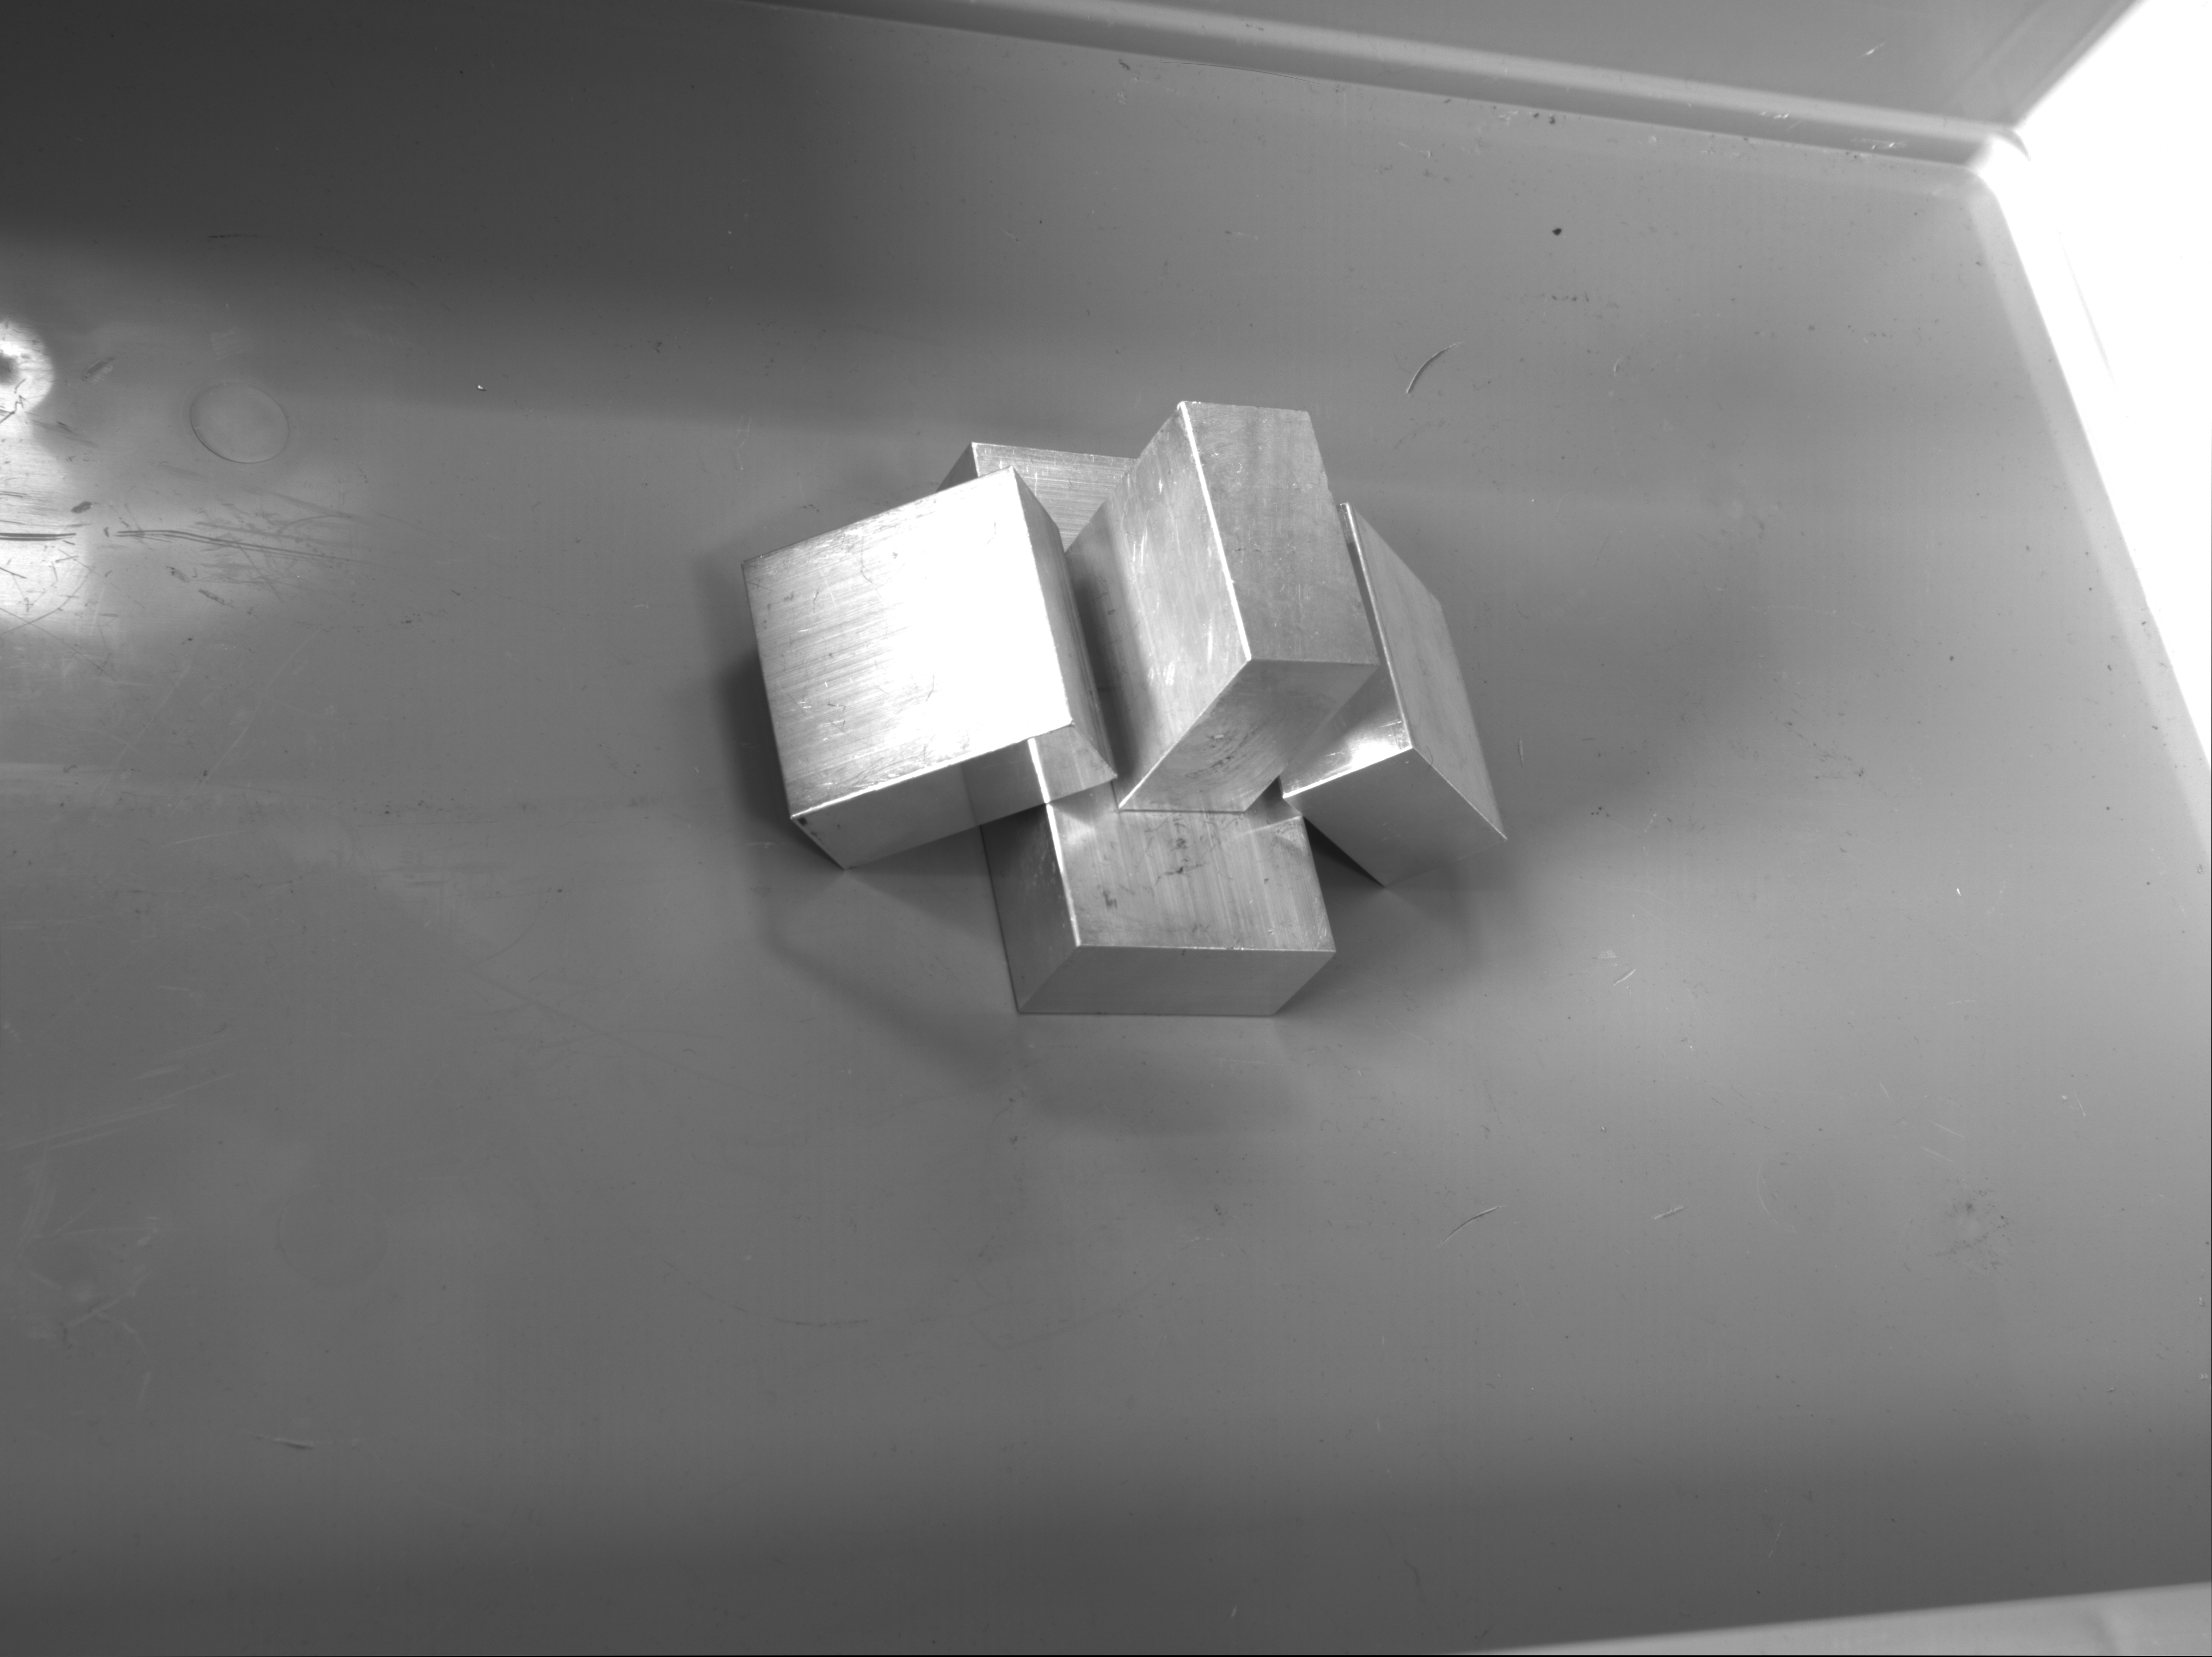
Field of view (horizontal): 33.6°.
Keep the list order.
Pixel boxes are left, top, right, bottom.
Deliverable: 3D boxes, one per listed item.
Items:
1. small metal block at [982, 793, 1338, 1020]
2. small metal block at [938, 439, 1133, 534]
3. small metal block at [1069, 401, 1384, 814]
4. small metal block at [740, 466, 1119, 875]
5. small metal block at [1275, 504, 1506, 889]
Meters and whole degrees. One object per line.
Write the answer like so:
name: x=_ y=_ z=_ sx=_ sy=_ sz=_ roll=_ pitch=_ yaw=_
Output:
small metal block: x=0.008 y=0.005 z=0.638 sx=0.050 sy=0.025 sz=0.050 roll=2 pitch=60 yaw=-27
small metal block: x=-0.002 y=-0.040 z=0.659 sx=0.050 sy=0.025 sz=0.050 roll=3 pitch=60 yaw=-27
small metal block: x=0.018 y=-0.037 z=0.620 sx=0.025 sy=0.050 sz=0.050 roll=1 pitch=61 yaw=-28
small metal block: x=-0.030 y=-0.026 z=0.619 sx=0.050 sy=0.025 sz=0.050 roll=-19 pitch=64 yaw=11
small metal block: x=0.046 y=-0.023 z=0.661 sx=0.050 sy=0.025 sz=0.050 roll=37 pitch=36 yaw=-58
